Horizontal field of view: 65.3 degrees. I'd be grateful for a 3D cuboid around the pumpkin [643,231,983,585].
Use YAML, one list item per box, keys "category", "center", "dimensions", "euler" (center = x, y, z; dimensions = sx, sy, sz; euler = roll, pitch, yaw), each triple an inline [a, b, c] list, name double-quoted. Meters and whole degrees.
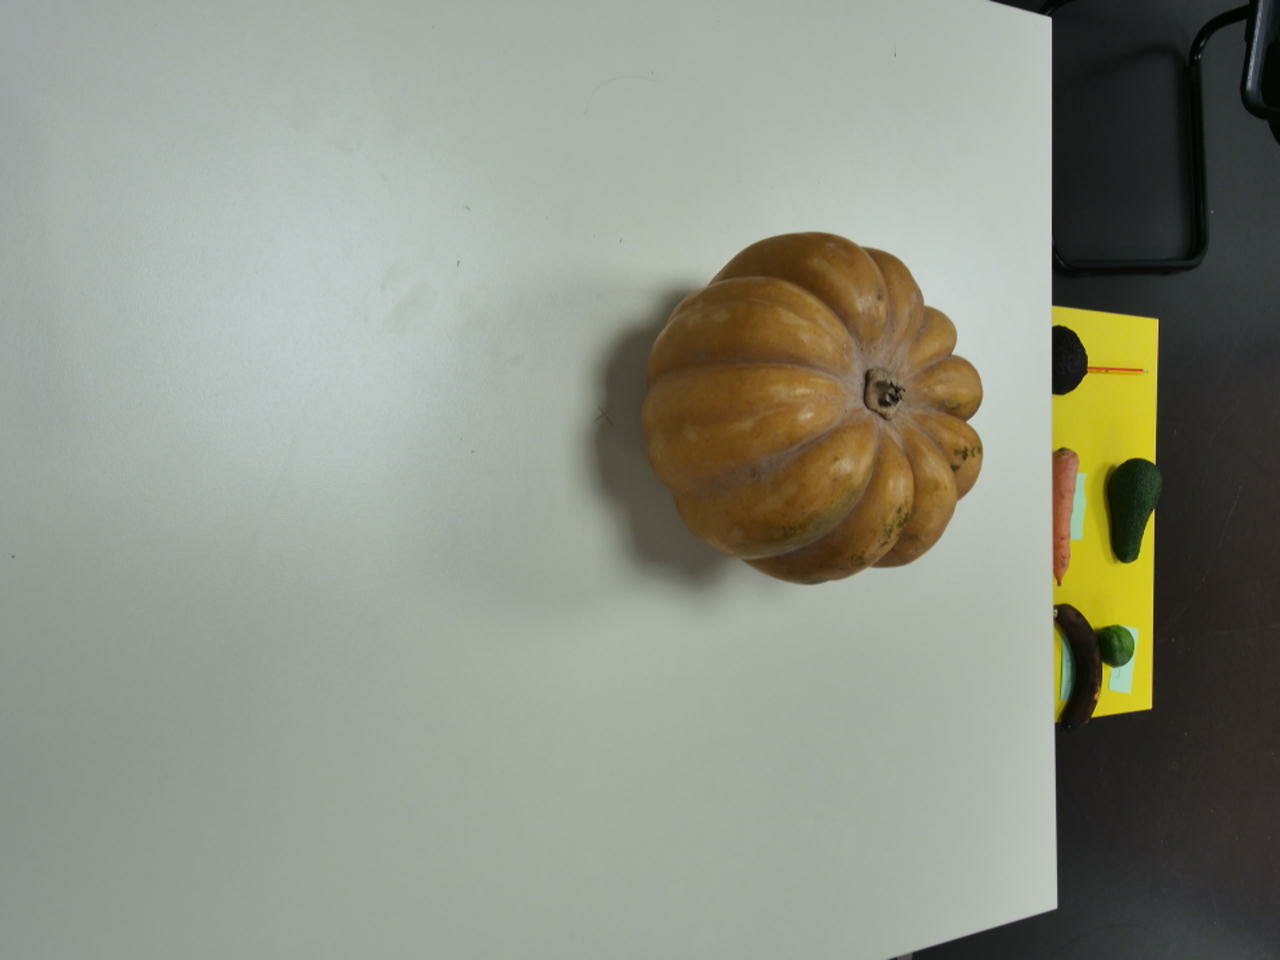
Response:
- category: "pumpkin"
  center: [0.110, -0.043, 0.659]
  dimensions: [0.230, 0.194, 0.230]
  euler: [0, 91, -28]
